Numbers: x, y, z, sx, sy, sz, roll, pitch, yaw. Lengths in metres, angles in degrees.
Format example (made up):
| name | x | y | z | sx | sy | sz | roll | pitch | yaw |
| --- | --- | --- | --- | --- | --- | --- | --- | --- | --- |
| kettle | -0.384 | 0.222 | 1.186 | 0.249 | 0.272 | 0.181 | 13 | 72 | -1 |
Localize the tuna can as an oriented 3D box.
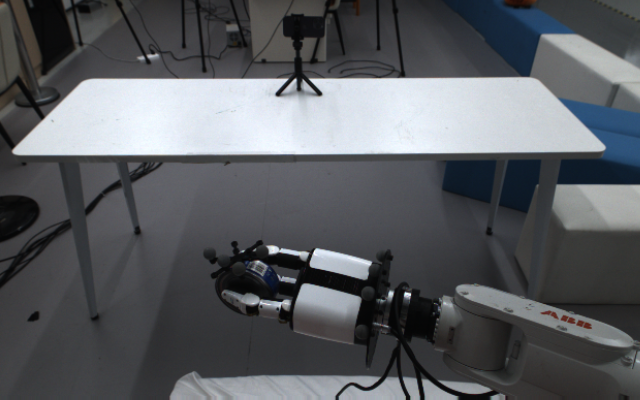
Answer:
| name | x | y | z | sx | sy | sz | roll | pitch | yaw |
| --- | --- | --- | --- | --- | --- | --- | --- | --- | --- |
| tuna can | -0.094 | 0.121 | 0.677 | 0.085 | 0.085 | 0.034 | 10 | 33 | 11 |
